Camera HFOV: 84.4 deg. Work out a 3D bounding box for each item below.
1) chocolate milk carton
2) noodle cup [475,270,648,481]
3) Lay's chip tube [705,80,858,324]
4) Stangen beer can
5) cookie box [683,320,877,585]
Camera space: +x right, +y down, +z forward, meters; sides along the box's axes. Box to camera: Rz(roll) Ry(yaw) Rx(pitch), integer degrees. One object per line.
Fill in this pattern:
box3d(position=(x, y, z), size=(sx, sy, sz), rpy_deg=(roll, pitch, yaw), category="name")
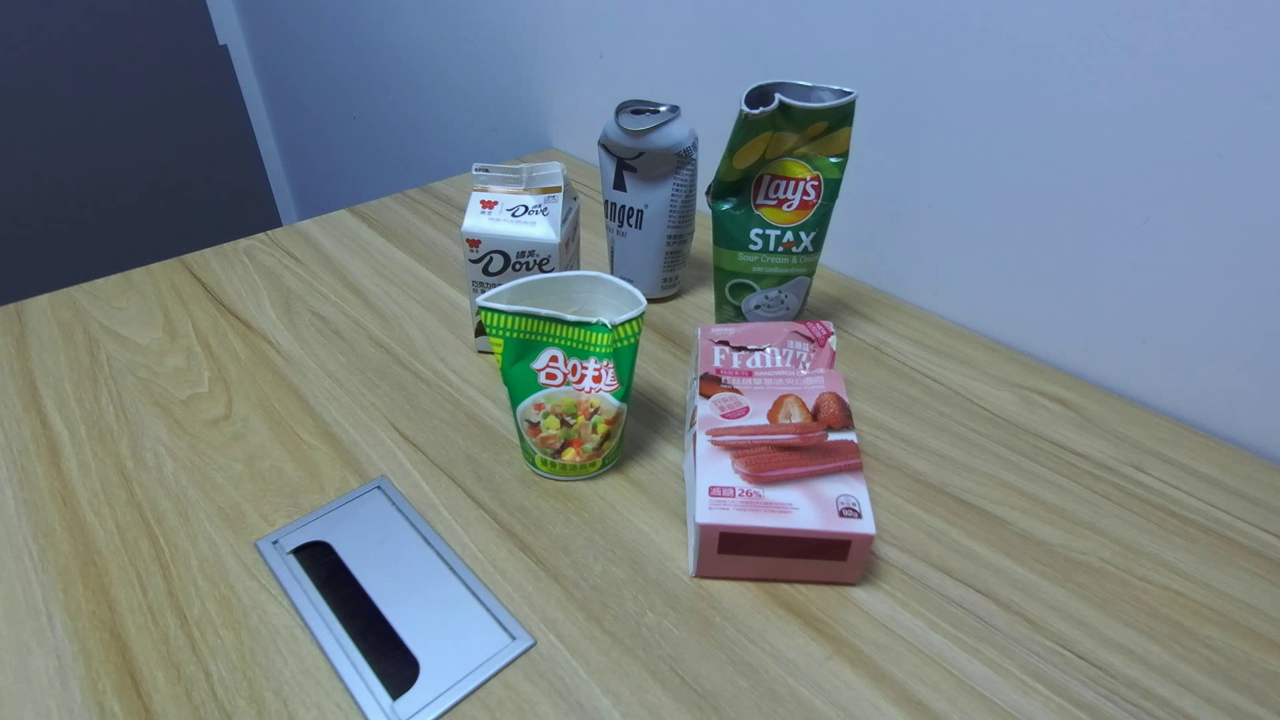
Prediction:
box3d(position=(-0.087, -0.082, 0.541), size=(0.075, 0.148, 0.074), rpy_deg=(7, 37, 6), category="chocolate milk carton")
box3d(position=(-0.042, 0.012, 0.449), size=(0.082, 0.122, 0.075), rpy_deg=(19, 31, 36), category="noodle cup")
box3d(position=(0.098, -0.100, 0.528), size=(0.077, 0.201, 0.069), rpy_deg=(-28, 45, -31), category="Lay's chip tube")
box3d(position=(0.006, -0.132, 0.601), size=(0.077, 0.162, 0.065), rpy_deg=(-5, 37, -8), category="Stangen beer can")
box3d(position=(0.081, 0.051, 0.448), size=(0.105, 0.059, 0.185), rpy_deg=(1, 40, 6), category="cookie box")
